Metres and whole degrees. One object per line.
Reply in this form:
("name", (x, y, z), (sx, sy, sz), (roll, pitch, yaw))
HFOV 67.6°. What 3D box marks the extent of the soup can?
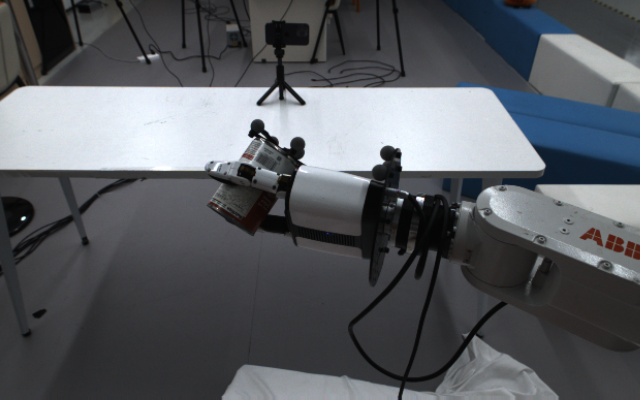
("soup can", (-0.080, -0.015, 0.590), (0.067, 0.067, 0.101), (27, 78, 31))
